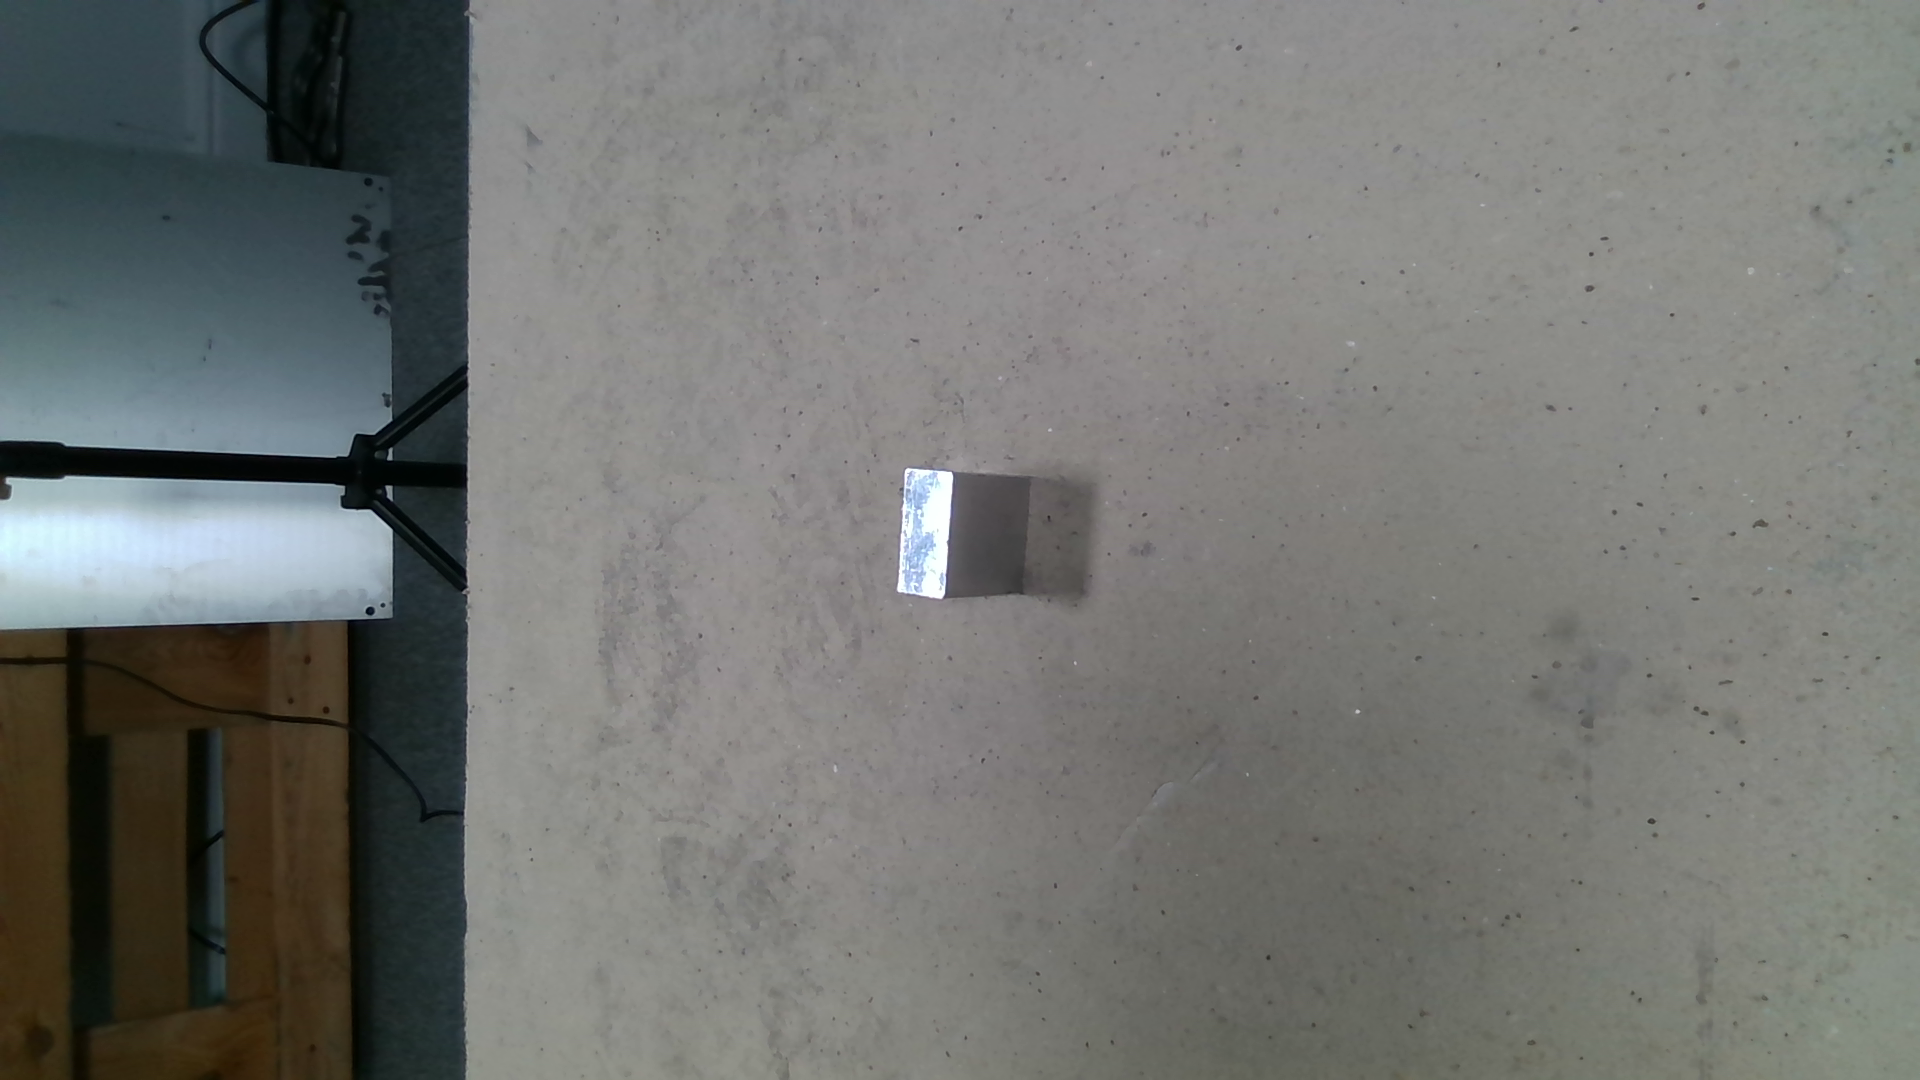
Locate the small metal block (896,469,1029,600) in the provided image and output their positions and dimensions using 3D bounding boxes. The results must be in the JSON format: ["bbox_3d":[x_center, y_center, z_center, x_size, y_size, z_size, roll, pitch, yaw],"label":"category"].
[{"bbox_3d":[0.002,-0.003,0.564,0.025,0.050,0.050,7,95,40],"label":"small metal block"}]
